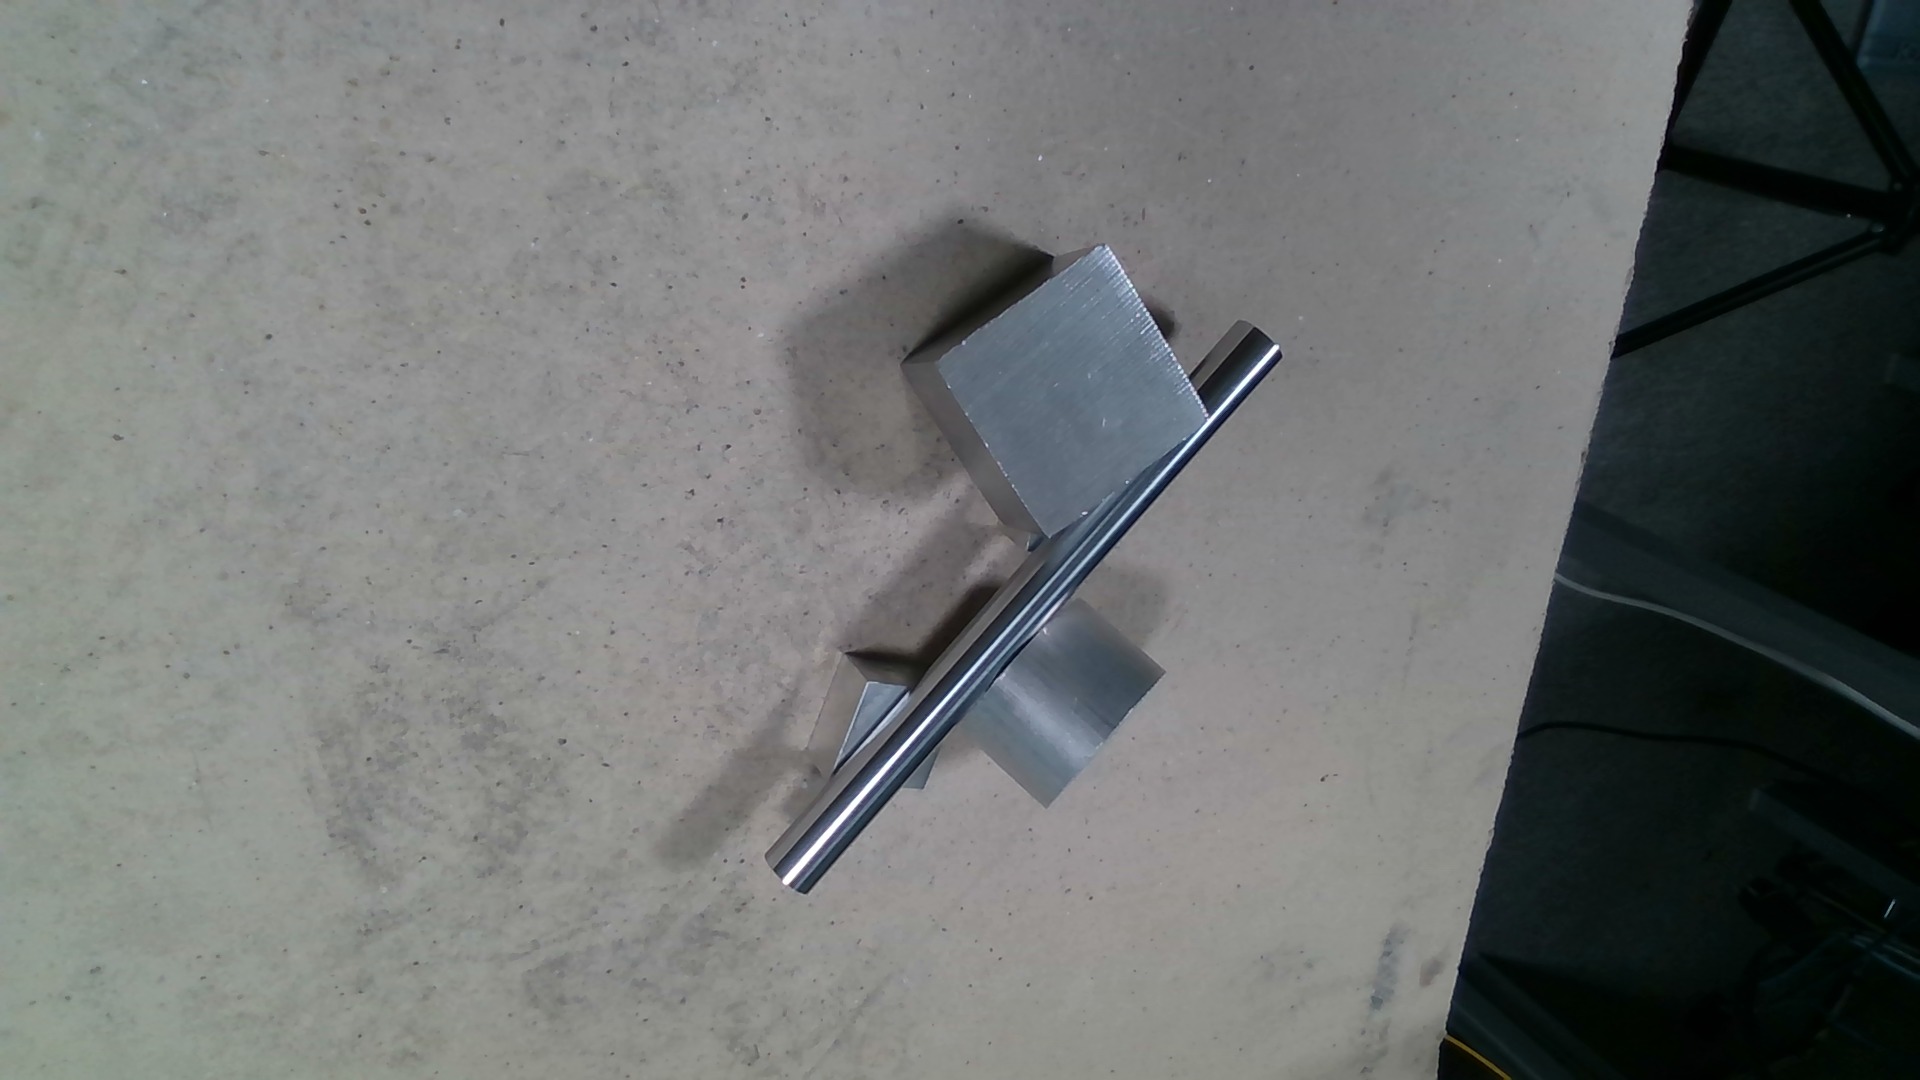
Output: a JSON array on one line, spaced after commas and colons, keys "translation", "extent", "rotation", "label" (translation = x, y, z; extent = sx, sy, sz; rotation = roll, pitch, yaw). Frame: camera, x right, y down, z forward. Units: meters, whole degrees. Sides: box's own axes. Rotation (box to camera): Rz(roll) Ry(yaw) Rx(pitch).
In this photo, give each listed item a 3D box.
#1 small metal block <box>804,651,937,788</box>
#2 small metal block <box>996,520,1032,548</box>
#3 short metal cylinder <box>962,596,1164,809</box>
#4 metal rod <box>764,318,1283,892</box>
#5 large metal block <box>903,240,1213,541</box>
[{"translation": [-0.033, 0.079, 0.604], "extent": [0.050, 0.025, 0.050], "rotation": [11, 109, -35], "label": "small metal block"}, {"translation": [0.048, -0.025, 0.597], "extent": [0.050, 0.025, 0.050], "rotation": [-2, 116, -31], "label": "small metal block"}, {"translation": [0.046, 0.071, 0.606], "extent": [0.080, 0.050, 0.080], "rotation": [-46, 169, -11], "label": "short metal cylinder"}, {"translation": [0.027, 0.027, 0.580], "extent": [0.300, 0.025, 0.025], "rotation": [-48, 129, 0], "label": "metal rod"}, {"translation": [0.037, -0.058, 0.535], "extent": [0.080, 0.050, 0.080], "rotation": [-36, 105, -9], "label": "large metal block"}]
